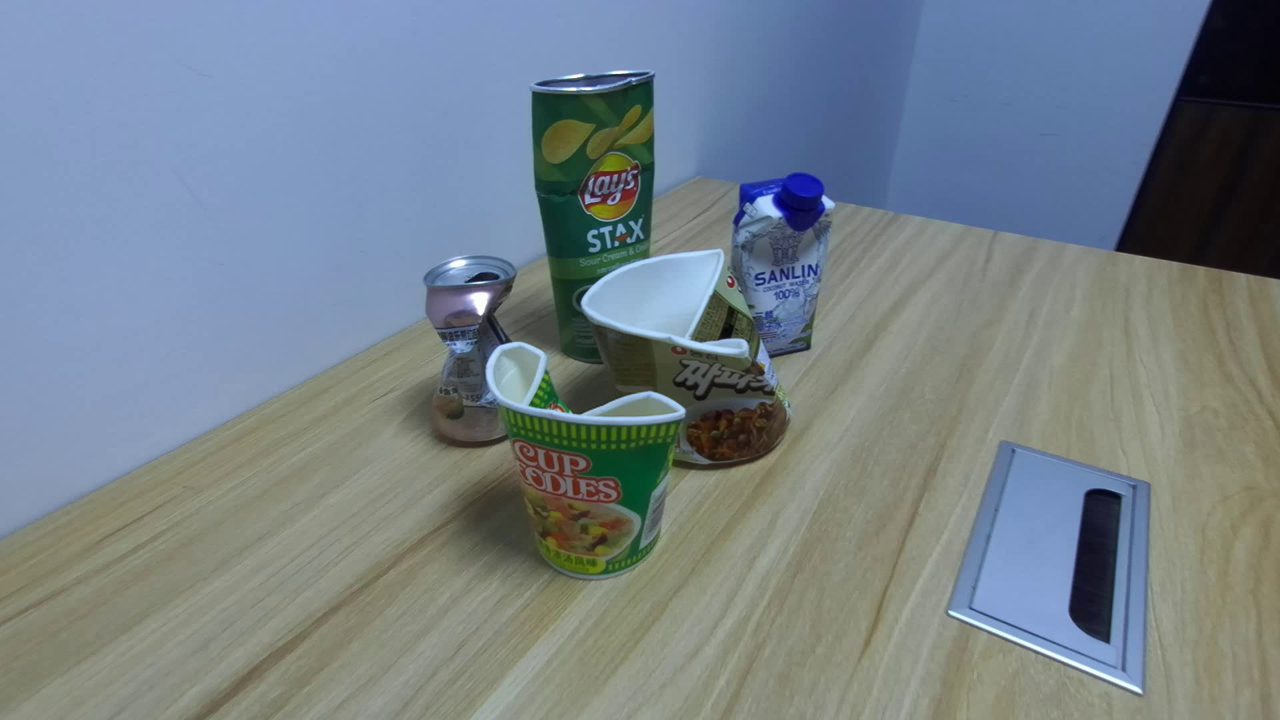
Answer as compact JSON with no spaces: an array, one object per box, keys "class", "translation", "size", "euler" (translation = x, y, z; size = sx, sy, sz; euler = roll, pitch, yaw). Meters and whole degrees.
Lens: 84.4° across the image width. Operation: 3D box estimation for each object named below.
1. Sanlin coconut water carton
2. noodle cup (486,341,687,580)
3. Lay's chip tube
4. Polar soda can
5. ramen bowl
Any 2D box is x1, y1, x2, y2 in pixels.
[{"class":"Sanlin coconut water carton","translation":[0.102,-0.072,0.524],"size":[0.078,0.142,0.057],"euler":[-13,39,-21]},{"class":"noodle cup","translation":[-0.026,0.048,0.357],"size":[0.075,0.122,0.082],"euler":[-18,45,-15]},{"class":"Lay's chip tube","translation":[-0.029,-0.099,0.513],"size":[0.069,0.199,0.075],"euler":[7,31,13]},{"class":"Polar soda can","translation":[-0.106,-0.010,0.456],"size":[0.070,0.114,0.074],"euler":[-23,45,-38]},{"class":"ramen bowl","translation":[0.035,-0.003,0.453],"size":[0.137,0.098,0.137],"euler":[0,30,0]}]
